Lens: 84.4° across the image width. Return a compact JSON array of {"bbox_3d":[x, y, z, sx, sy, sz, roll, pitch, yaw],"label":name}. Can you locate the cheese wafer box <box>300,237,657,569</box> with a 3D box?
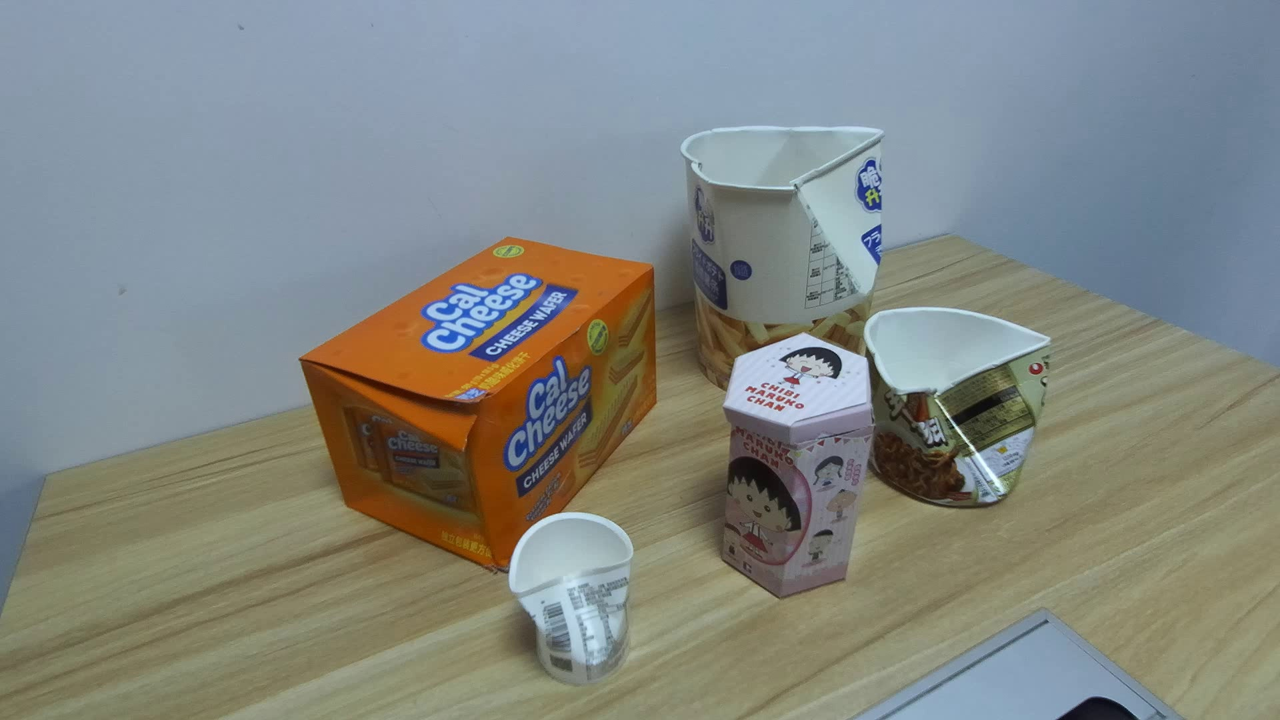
[{"bbox_3d":[-0.100,0.015,0.522,0.149,0.137,0.227,15,36,25],"label":"cheese wafer box"}]

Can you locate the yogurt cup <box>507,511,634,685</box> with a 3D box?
[{"bbox_3d":[-0.035,0.133,0.391,0.067,0.070,0.067,-4,32,3],"label":"yogurt cup"}]

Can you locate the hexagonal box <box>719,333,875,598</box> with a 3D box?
[{"bbox_3d":[0.094,0.064,0.428,0.085,0.135,0.091,-30,42,-36],"label":"hexagonal box"}]

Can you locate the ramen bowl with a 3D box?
[{"bbox_3d":[0.224,0.030,0.517,0.137,0.098,0.137,-1,31,1],"label":"ramen bowl"}]

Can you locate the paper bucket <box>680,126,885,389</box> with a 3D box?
[{"bbox_3d":[0.121,-0.078,0.597,0.169,0.202,0.162,1,34,8],"label":"paper bucket"}]
